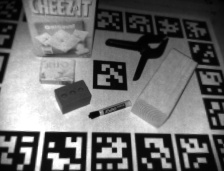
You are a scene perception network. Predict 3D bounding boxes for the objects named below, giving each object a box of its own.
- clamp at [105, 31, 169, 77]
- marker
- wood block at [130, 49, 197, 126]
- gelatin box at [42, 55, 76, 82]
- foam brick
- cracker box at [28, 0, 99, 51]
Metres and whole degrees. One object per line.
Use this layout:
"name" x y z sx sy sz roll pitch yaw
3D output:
"clamp" 0.103 -0.130 0.691 0.204 0.036 0.164 -27 72 -21
"marker" -0.017 0.060 0.581 0.122 0.019 0.019 -16 69 -18
"wood block" 0.147 -0.005 0.610 0.089 0.091 0.207 33 60 10
"gelatin box" -0.148 -0.047 0.608 0.090 0.030 0.073 2 65 -10
"foam brick" -0.104 0.022 0.566 0.078 0.051 0.052 -21 70 -19
"cracker box" -0.121 -0.180 0.568 0.165 0.213 0.071 0 62 -12
